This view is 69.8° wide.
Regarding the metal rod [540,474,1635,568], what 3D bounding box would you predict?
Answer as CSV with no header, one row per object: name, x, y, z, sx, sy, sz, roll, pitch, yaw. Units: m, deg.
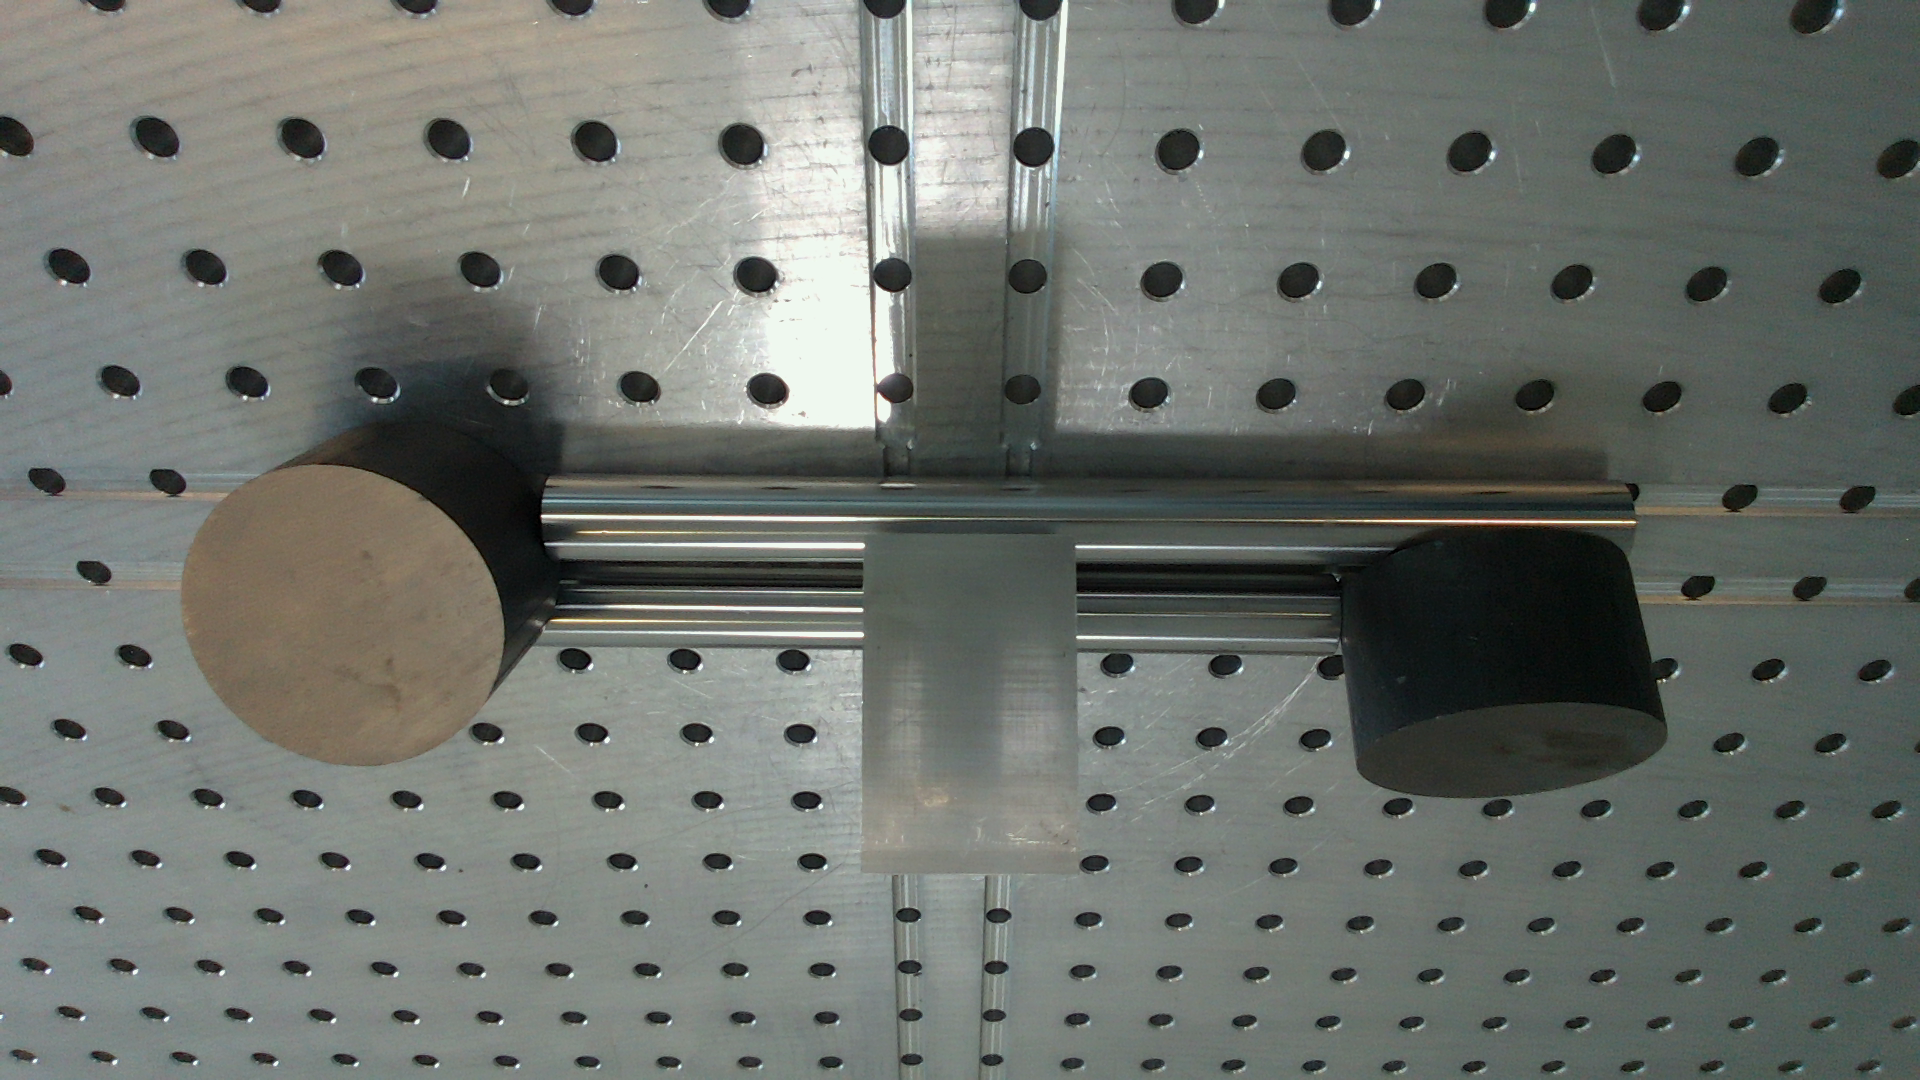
metal rod,0.036,-0.005,0.389,0.300,0.025,0.025,0,130,-1

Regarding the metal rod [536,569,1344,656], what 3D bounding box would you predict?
metal rod,-0.038,0.021,0.410,0.300,0.025,0.025,0,130,-1

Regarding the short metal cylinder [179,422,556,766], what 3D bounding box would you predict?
short metal cylinder,-0.155,0.013,0.368,0.080,0.050,0.080,0,107,0

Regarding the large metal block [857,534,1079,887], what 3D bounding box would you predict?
large metal block,0.002,0.044,0.355,0.050,0.080,0.080,0,172,0

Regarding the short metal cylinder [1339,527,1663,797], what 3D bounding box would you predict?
short metal cylinder,0.151,0.037,0.392,0.080,0.050,0.080,0,152,0
